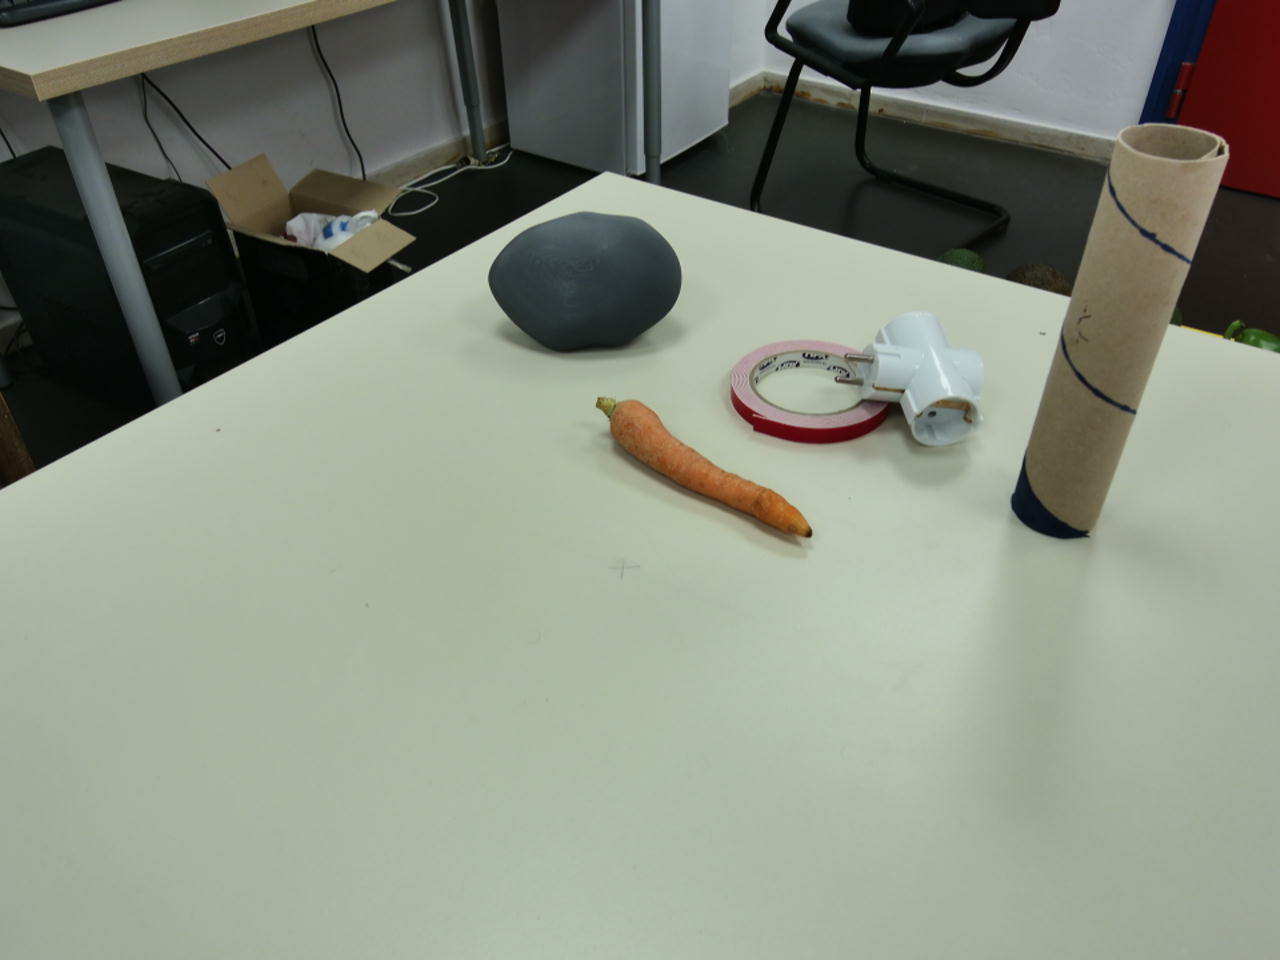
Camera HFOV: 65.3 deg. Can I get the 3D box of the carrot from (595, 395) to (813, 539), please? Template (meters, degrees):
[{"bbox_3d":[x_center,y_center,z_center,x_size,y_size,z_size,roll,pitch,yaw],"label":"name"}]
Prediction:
[{"bbox_3d":[0.035,-0.010,0.610,0.030,0.032,0.173,-31,47,-33],"label":"carrot"}]
